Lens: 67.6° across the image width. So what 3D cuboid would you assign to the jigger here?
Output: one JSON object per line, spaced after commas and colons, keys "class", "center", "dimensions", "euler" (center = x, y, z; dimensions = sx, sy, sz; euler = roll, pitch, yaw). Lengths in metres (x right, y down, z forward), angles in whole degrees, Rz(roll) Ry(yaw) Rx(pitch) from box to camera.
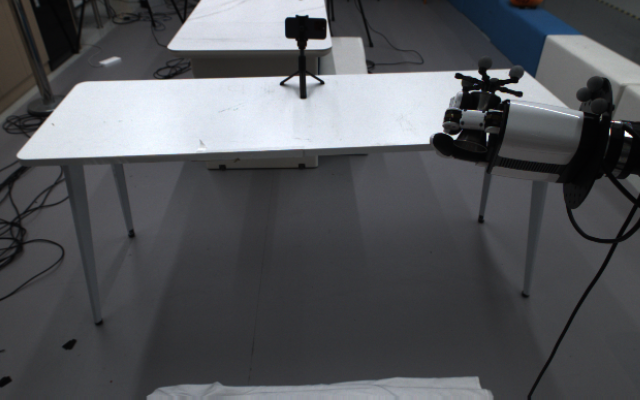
{"class": "jigger", "center": [0.199, -0.104, 0.620], "dimensions": [0.043, 0.071, 0.043], "euler": [18, -6, 2]}
